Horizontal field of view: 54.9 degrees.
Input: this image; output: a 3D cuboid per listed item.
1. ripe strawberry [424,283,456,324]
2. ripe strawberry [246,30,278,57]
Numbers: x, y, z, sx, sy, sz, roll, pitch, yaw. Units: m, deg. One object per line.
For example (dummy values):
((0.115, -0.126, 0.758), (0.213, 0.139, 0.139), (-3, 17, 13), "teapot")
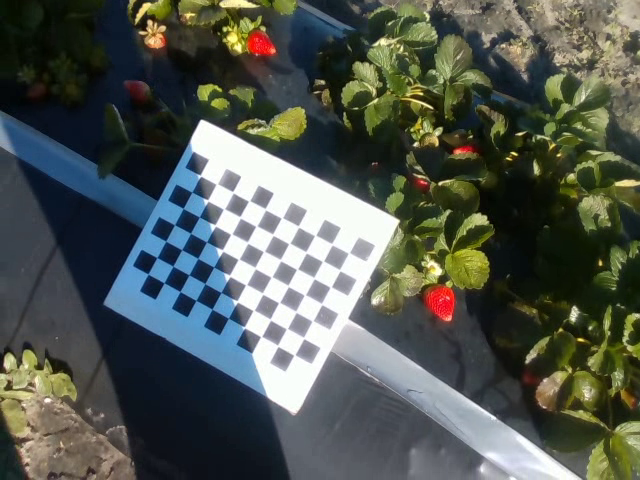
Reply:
((0.159, 0.086, 0.807), (0.048, 0.055, 0.029), (-18, -8, 5), "ripe strawberry")
((-0.097, -0.334, 1.051), (0.064, 0.050, 0.052), (35, 0, 18), "ripe strawberry")
